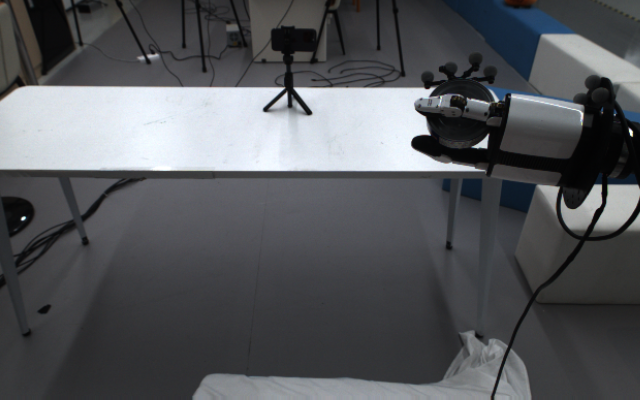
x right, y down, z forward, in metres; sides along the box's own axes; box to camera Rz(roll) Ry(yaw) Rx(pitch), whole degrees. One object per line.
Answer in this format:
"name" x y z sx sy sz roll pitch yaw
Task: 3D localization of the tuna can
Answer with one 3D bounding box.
"tuna can" 0.180 -0.112 0.625 0.085 0.034 0.085 -5 70 15
